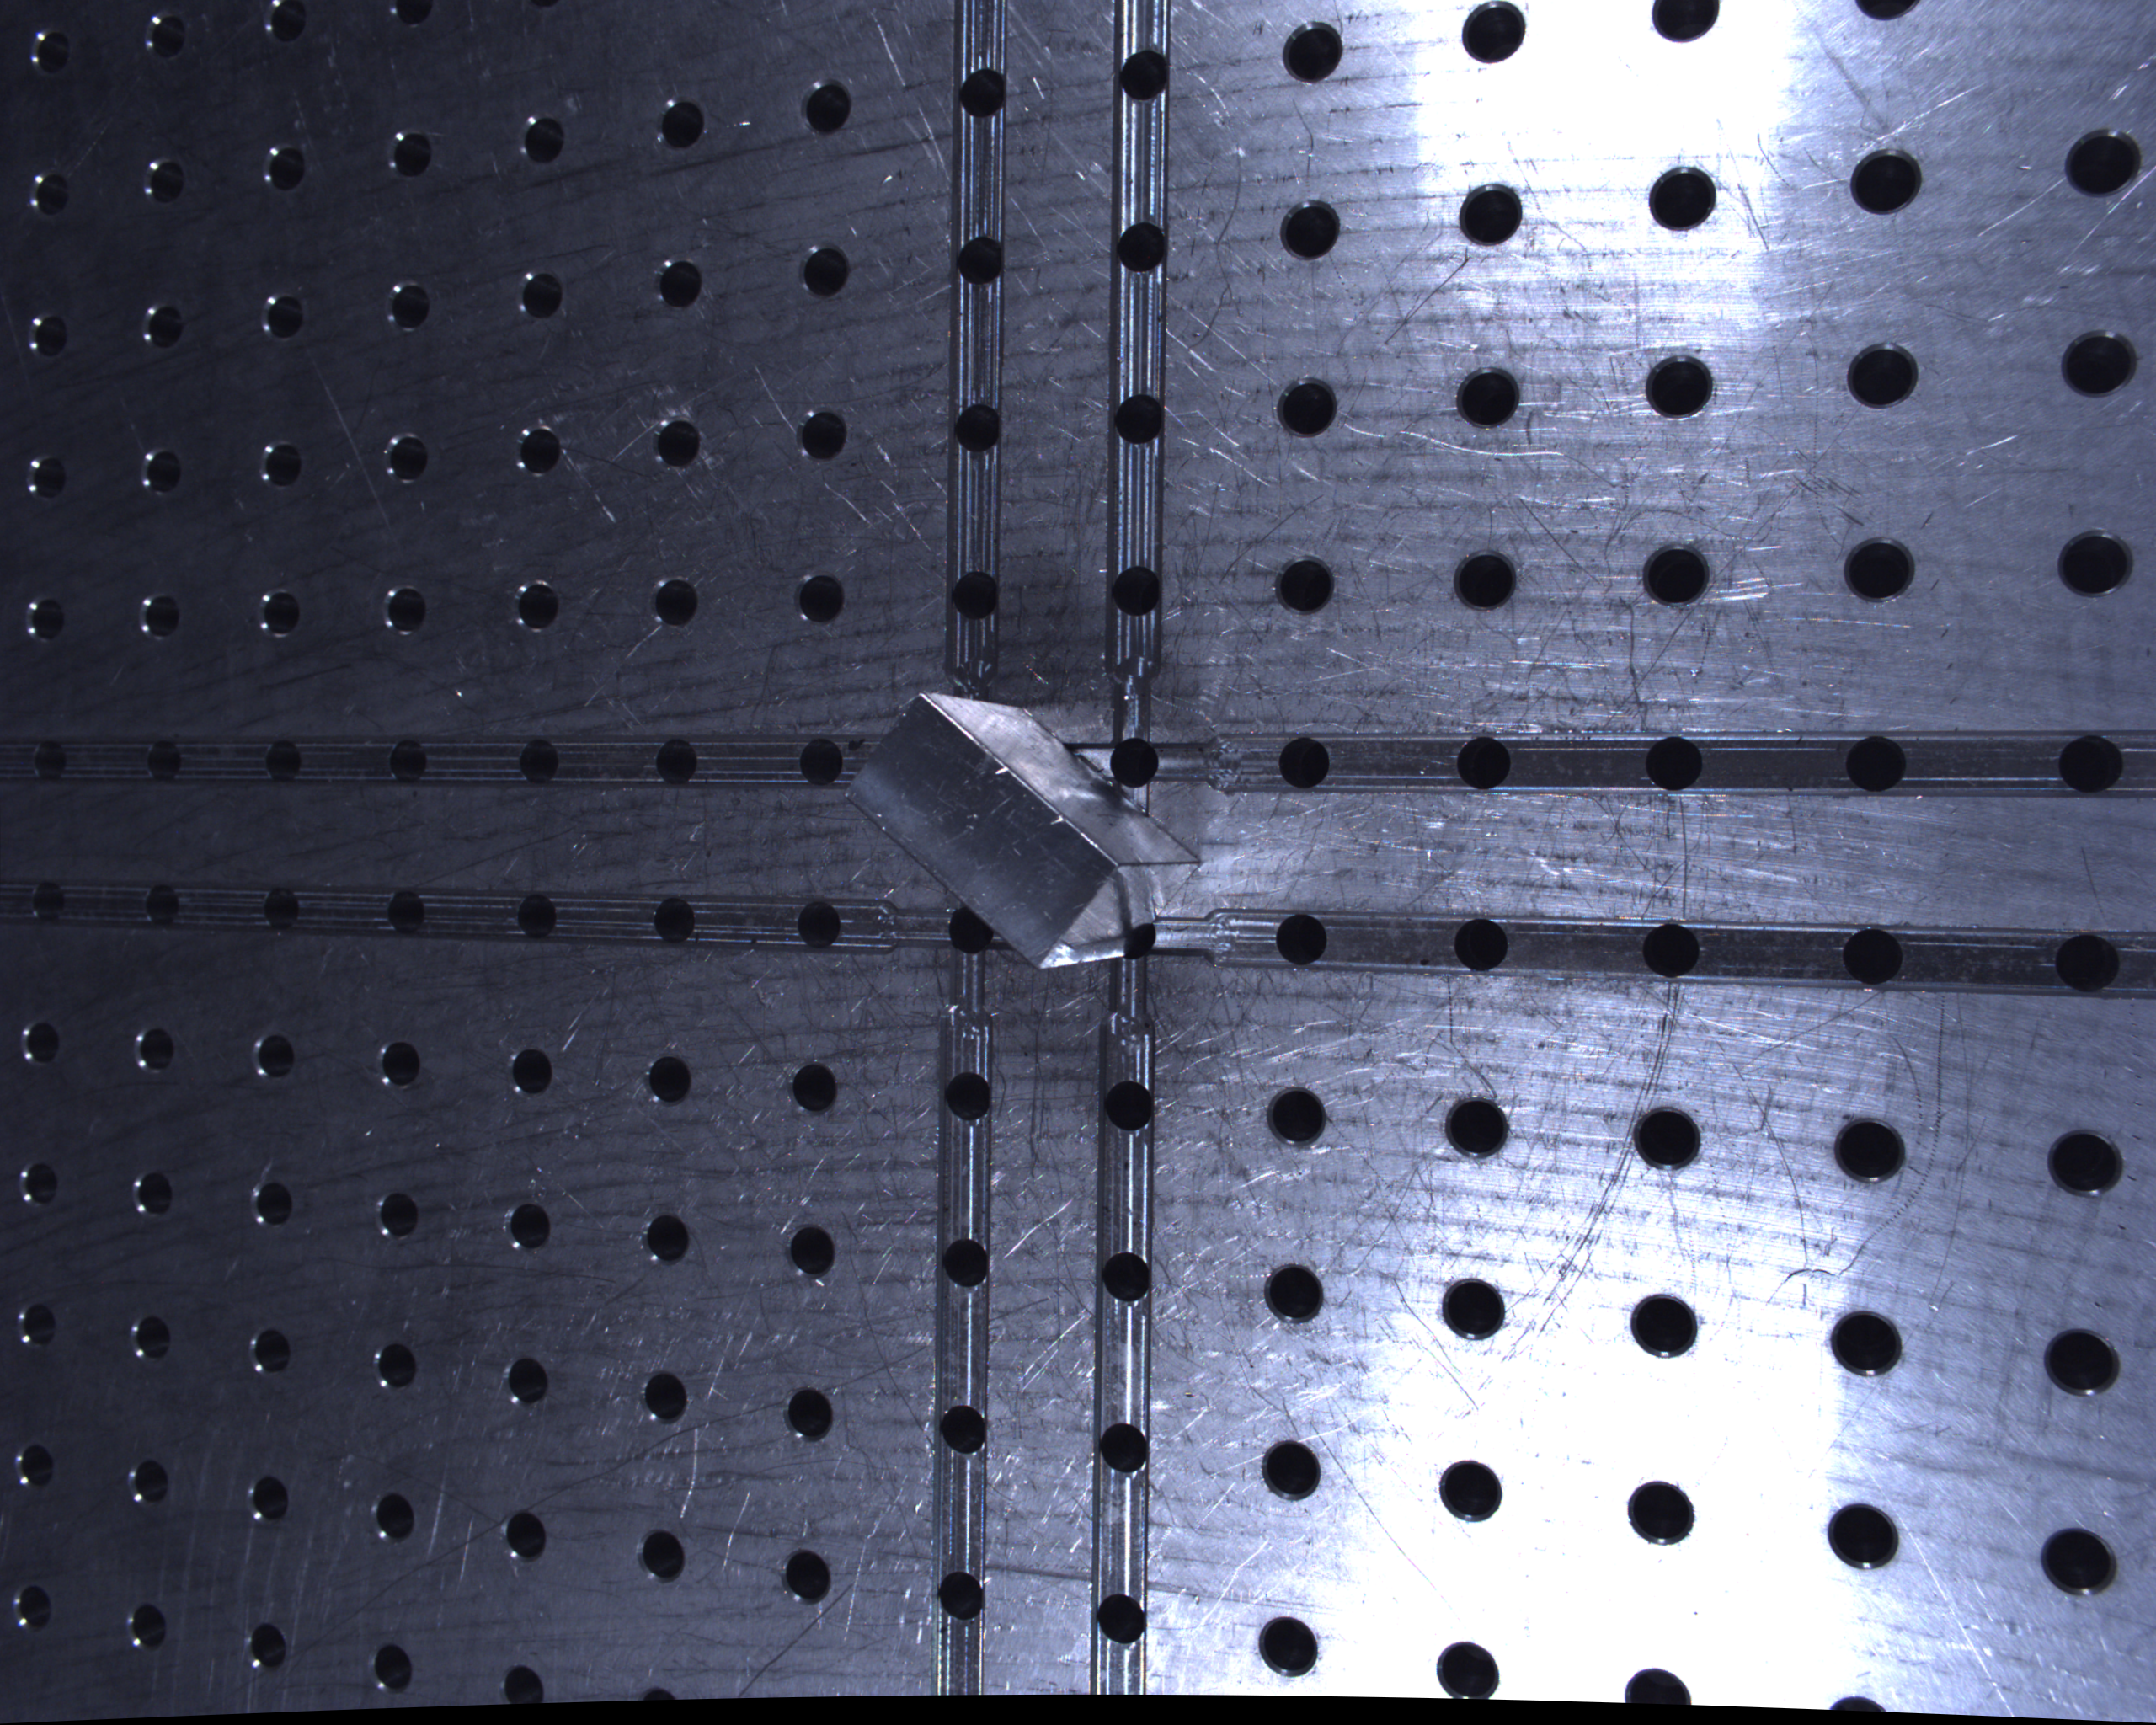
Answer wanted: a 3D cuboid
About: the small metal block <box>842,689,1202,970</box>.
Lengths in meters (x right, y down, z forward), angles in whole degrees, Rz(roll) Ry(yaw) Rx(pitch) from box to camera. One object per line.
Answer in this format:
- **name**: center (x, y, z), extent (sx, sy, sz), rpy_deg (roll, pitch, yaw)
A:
- **small metal block**: center (-0.010, -0.006, 0.402), extent (0.050, 0.050, 0.025), rpy_deg (42, 103, 15)
